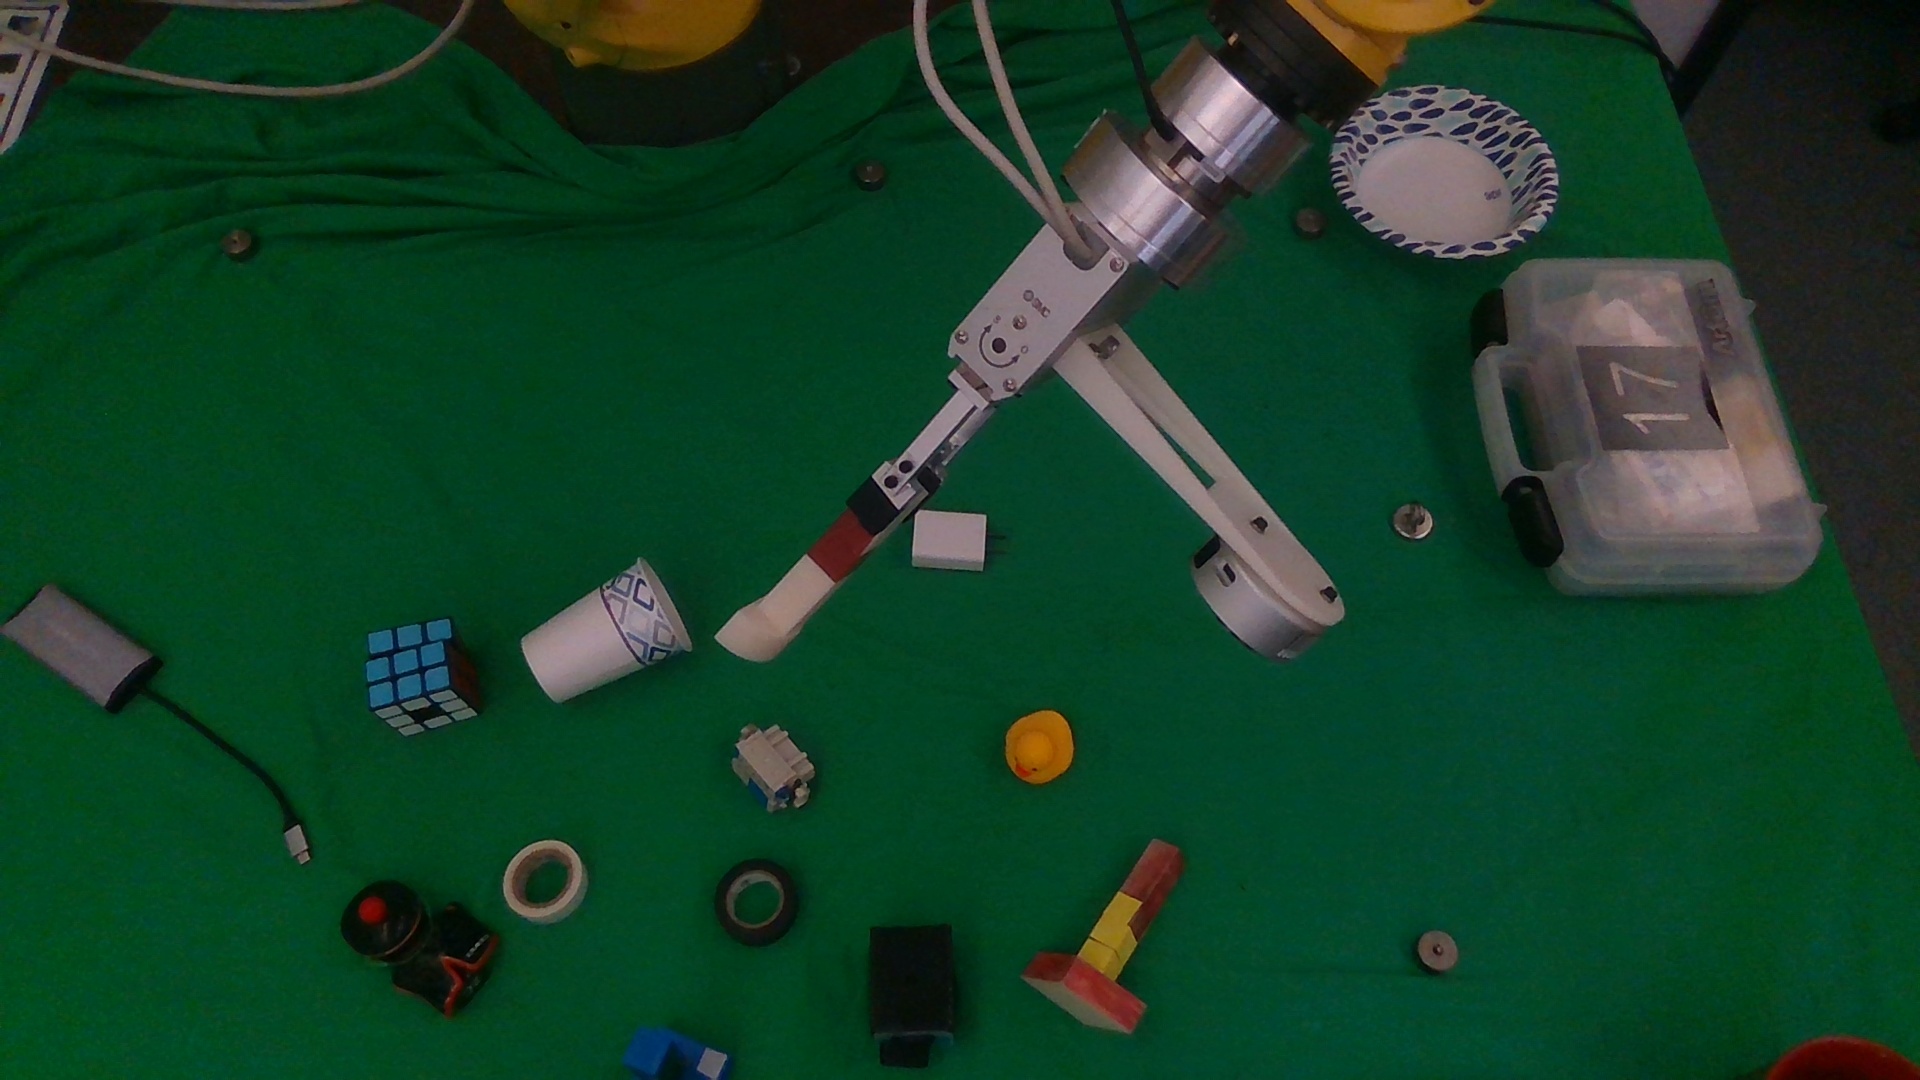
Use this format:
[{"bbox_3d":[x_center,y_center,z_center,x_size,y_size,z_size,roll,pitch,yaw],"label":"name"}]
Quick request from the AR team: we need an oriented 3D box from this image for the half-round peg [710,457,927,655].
[{"bbox_3d":[-0.064,0.008,0.651,0.031,0.122,0.054,50,28,5],"label":"half-round peg"}]

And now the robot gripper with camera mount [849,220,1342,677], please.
[{"bbox_3d":[0.067,-0.008,0.596,0.193,0.159,0.118,45,29,6],"label":"robot gripper with camera mount"}]
